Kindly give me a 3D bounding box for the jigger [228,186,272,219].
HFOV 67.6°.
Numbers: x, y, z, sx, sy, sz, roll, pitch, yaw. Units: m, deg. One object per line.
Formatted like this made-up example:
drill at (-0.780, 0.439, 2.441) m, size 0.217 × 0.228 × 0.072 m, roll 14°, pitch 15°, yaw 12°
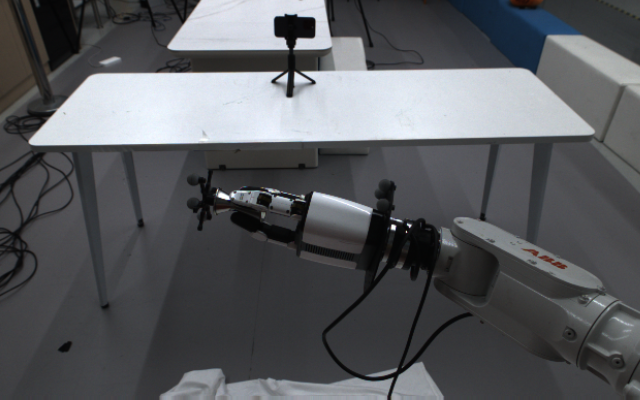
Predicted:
jigger at (-0.104, 0.003, 0.683) m, size 0.071 × 0.043 × 0.043 m, roll 7°, pitch 35°, yaw 2°
